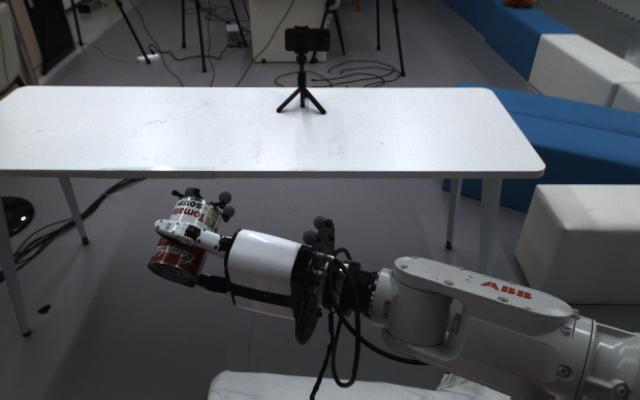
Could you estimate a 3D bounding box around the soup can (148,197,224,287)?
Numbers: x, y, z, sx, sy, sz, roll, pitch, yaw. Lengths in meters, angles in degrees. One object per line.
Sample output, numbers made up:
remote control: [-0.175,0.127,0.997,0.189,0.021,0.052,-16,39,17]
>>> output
soup can: [-0.179,0.056,0.654,0.067,0.067,0.101,9,60,10]
